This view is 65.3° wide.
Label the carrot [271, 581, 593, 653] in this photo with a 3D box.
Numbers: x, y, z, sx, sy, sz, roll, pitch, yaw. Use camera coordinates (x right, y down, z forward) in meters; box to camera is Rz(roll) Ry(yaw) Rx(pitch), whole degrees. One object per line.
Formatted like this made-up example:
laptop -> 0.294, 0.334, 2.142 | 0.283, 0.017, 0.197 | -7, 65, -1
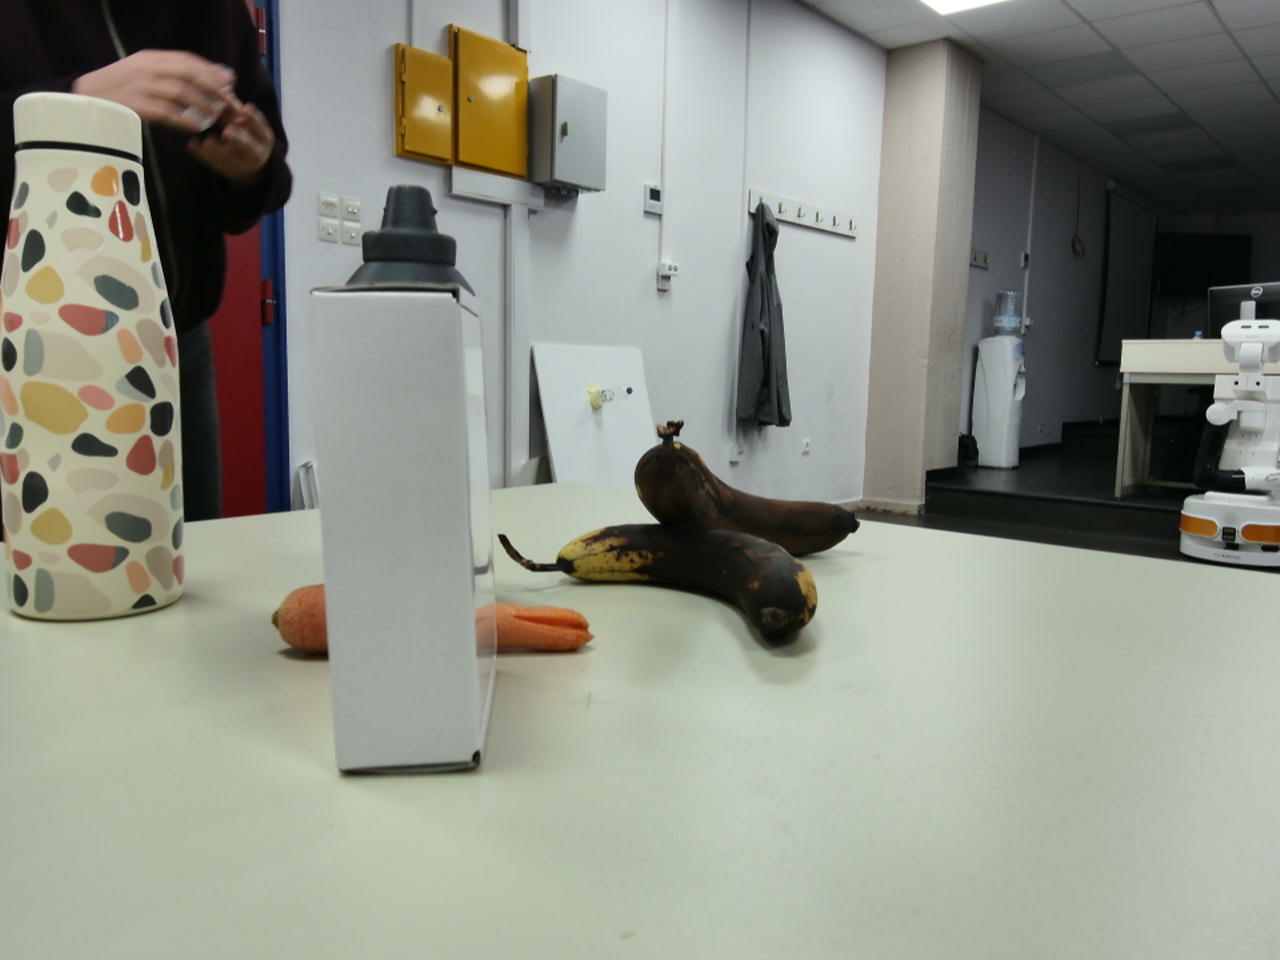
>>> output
carrot -> -0.089, 0.059, 0.434 | 0.136, 0.032, 0.030 | 0, 4, -4
